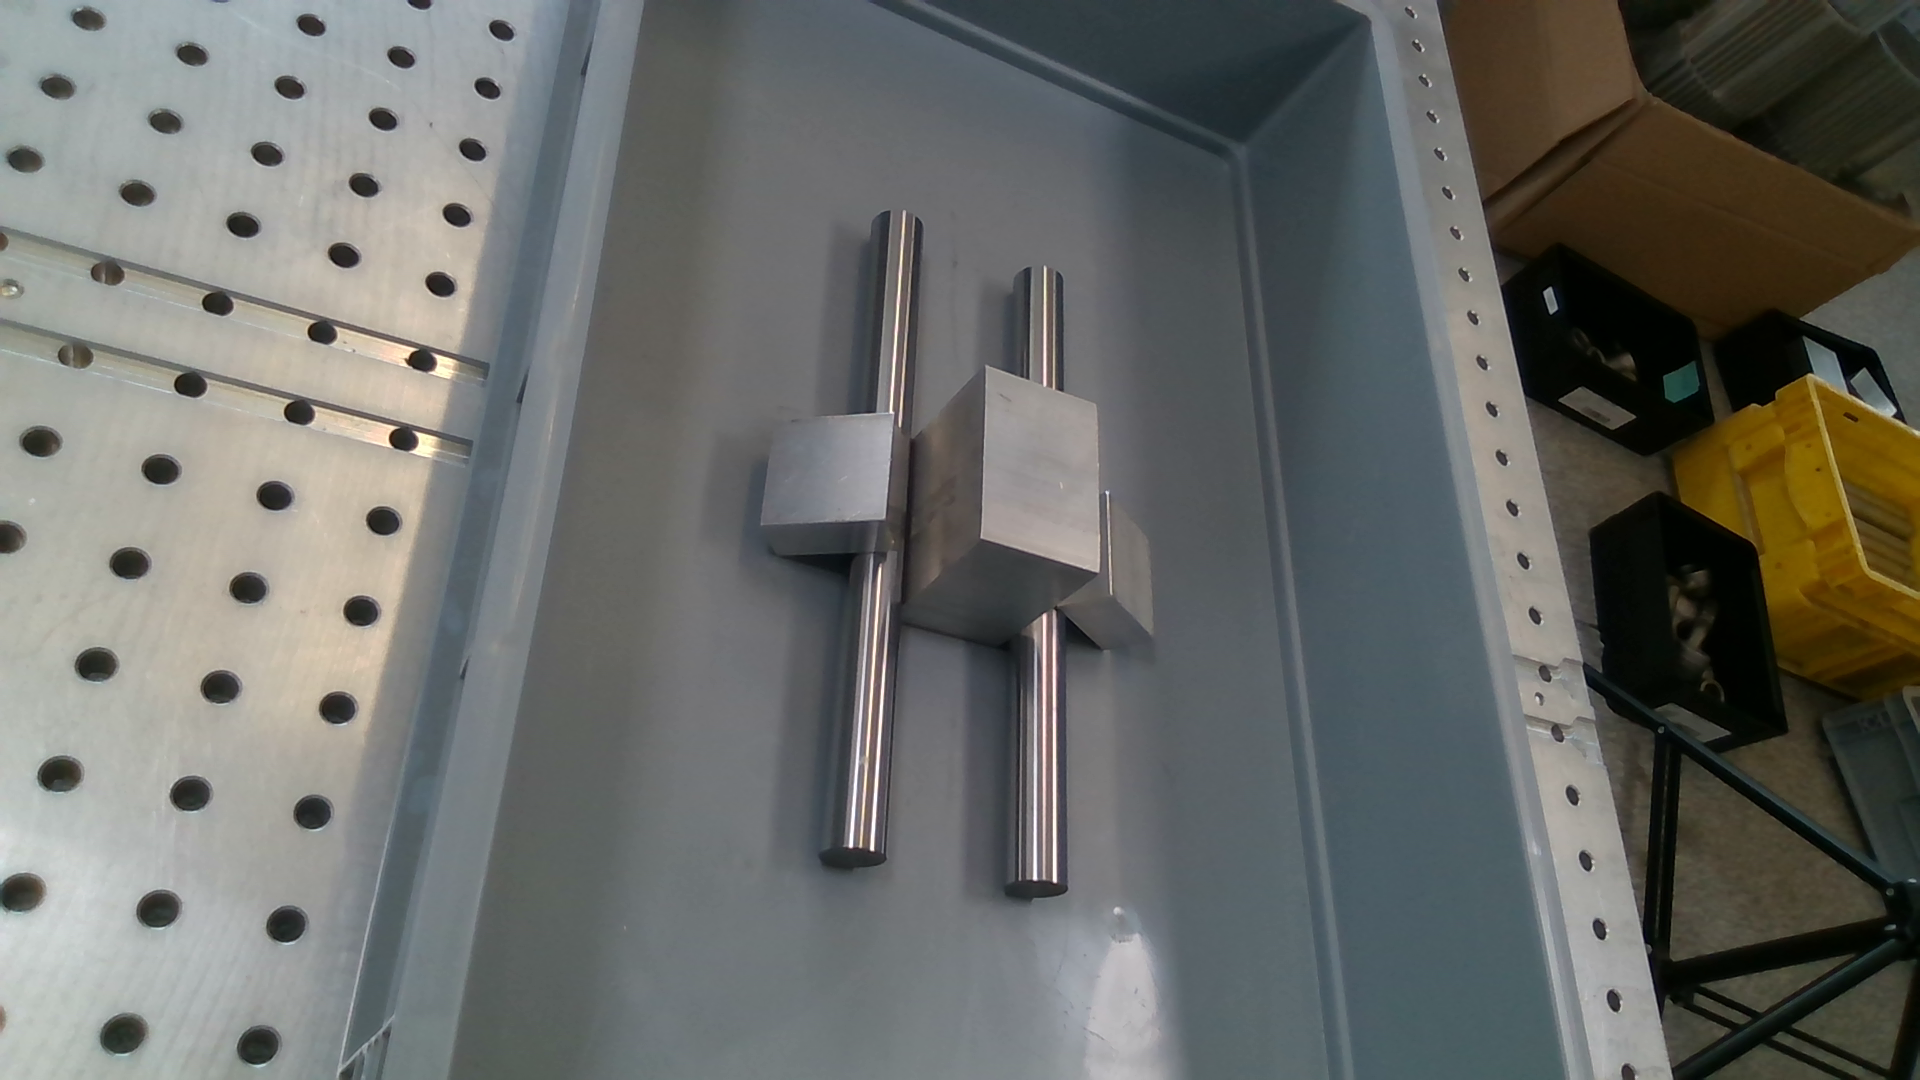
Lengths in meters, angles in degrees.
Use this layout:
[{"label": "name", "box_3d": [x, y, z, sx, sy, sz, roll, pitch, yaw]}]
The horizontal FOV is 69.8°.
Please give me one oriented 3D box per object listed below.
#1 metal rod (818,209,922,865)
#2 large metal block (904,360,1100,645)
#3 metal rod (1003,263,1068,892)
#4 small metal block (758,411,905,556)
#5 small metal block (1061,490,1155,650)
[{"label": "metal rod", "box_3d": [-0.035, -0.016, 0.573, 0.025, 0.025, 0.299, 16, 58, -24]}, {"label": "large metal block", "box_3d": [0.013, -0.013, 0.563, 0.050, 0.080, 0.080, 16, 58, -24]}, {"label": "metal rod", "box_3d": [0.034, 0.003, 0.603, 0.025, 0.025, 0.299, 16, 58, -24]}, {"label": "small metal block", "box_3d": [-0.050, -0.022, 0.550, 0.050, 0.025, 0.050, -2, 60, 9]}, {"label": "small metal block", "box_3d": [0.064, 0.014, 0.602, 0.050, 0.025, 0.050, 43, 41, -51]}]
